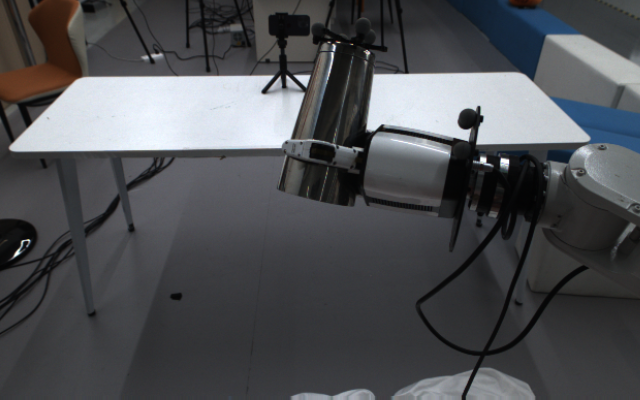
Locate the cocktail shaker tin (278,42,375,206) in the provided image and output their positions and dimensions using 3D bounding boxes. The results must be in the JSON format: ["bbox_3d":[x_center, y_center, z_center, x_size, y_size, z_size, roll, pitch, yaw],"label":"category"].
[{"bbox_3d":[0.014,-0.085,0.555,0.093,0.170,0.093,13,4,-1],"label":"cocktail shaker tin"}]
